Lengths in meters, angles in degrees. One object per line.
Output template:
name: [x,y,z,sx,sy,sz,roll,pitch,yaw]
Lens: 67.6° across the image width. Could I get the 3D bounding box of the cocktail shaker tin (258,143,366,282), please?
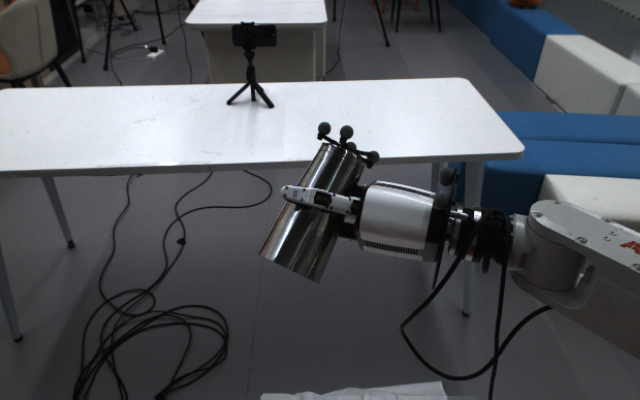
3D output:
cocktail shaker tin: [-0.004,0.011,0.644,0.093,0.093,0.170,21,81,25]
